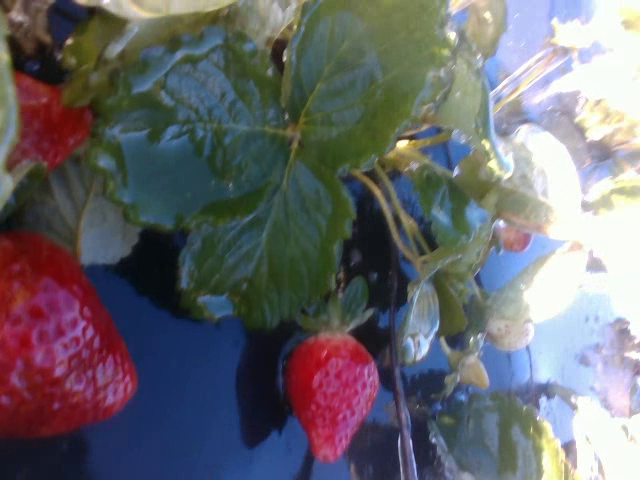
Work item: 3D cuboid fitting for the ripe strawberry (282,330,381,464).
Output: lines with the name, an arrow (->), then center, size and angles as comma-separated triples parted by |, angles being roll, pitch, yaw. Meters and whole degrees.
ripe strawberry -> 0.006, 0.052, 0.202 | 0.040, 0.047, 0.039 | -1, -26, 31

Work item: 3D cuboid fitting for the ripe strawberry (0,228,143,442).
ripe strawberry -> -0.055, 0.027, 0.135 | 0.040, 0.044, 0.056 | 11, -30, 35
